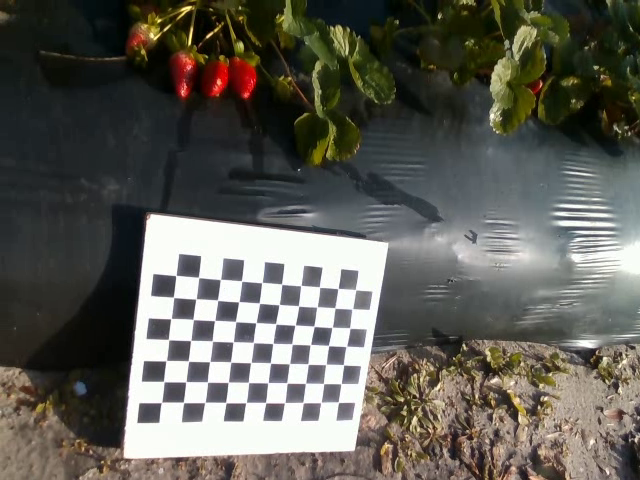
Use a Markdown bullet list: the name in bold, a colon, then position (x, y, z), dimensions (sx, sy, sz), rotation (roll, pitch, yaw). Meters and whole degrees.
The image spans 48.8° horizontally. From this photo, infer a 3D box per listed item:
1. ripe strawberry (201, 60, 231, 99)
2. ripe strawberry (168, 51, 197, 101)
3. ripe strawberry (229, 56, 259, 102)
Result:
- **ripe strawberry**: position (-0.099, -0.154, 0.680), dimensions (0.030, 0.037, 0.039), rotation (16, 27, -24)
- **ripe strawberry**: position (-0.128, -0.156, 0.675), dimensions (0.031, 0.046, 0.023), rotation (5, -9, -23)
- **ripe strawberry**: position (-0.074, -0.152, 0.695), dimensions (0.035, 0.041, 0.034), rotation (0, -43, -23)
